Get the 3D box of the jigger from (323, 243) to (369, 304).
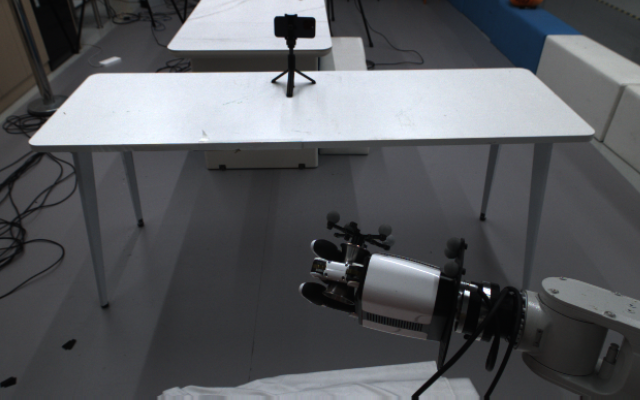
[{"bbox_3d":[0.037,0.092,0.611,0.043,0.043,0.071,13,70,16],"label":"jigger"}]
